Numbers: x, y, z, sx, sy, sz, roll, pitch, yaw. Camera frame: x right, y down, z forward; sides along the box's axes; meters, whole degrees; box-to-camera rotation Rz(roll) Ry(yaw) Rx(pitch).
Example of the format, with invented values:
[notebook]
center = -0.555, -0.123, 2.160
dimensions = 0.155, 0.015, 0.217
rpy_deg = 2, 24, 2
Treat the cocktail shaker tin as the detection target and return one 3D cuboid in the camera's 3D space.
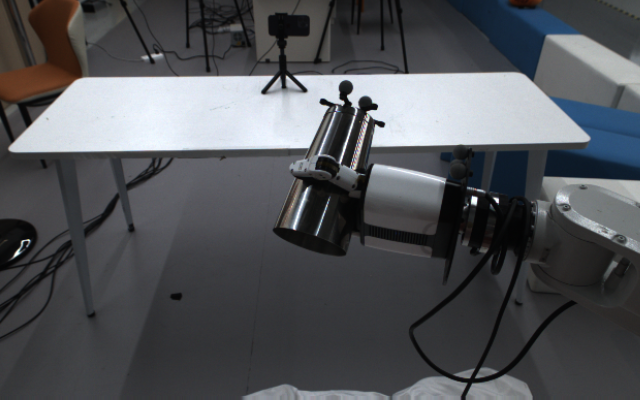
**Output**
[cocktail shaker tin]
center = 0.014, -0.026, 0.592
dimensions = 0.093, 0.093, 0.170
rpy_deg = 14, 73, 16
